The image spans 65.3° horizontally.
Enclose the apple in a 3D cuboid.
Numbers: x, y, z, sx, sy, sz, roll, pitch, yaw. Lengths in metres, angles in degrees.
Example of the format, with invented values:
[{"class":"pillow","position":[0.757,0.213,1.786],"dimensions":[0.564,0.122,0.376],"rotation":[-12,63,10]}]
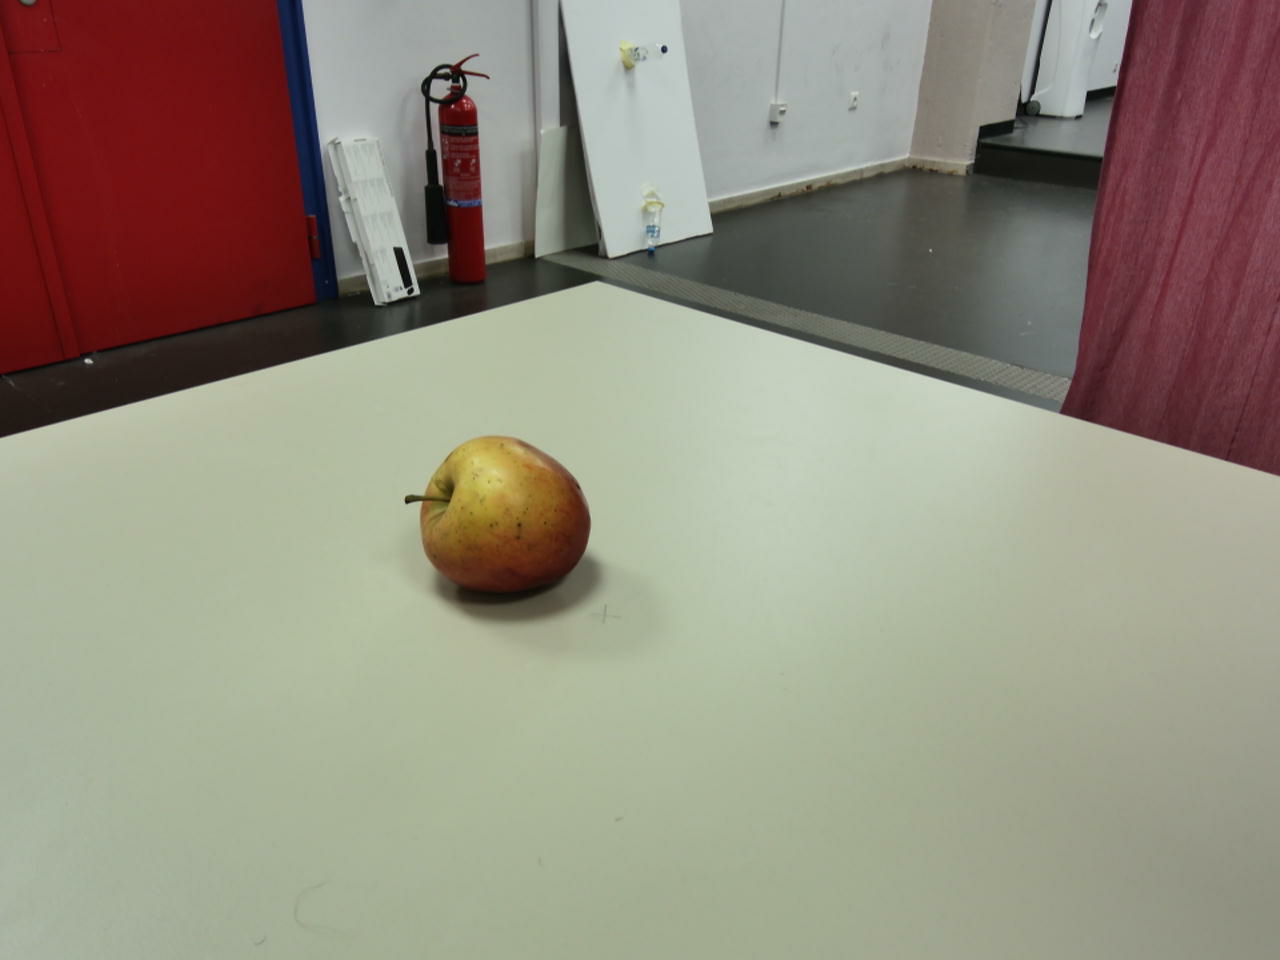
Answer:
[{"class":"apple","position":[-0.074,0.019,0.541],"dimensions":[0.093,0.084,0.086],"rotation":[4,25,5]}]
